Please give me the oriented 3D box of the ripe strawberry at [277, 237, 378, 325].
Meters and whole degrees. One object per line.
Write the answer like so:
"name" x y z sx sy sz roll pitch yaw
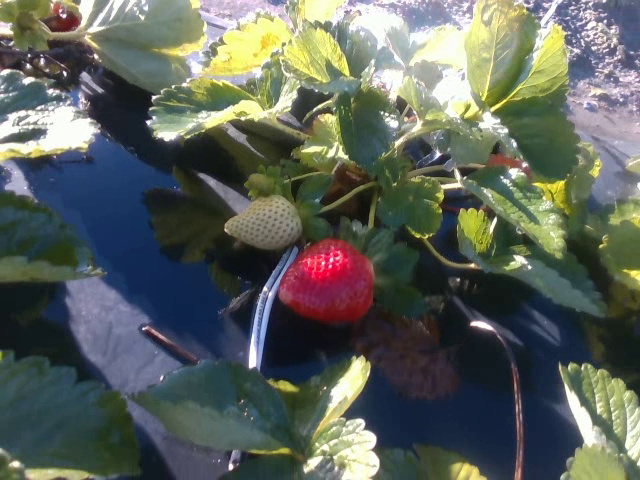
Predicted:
"ripe strawberry" 0.009 0.022 0.334 0.040 0.062 0.080 -25 -9 40
